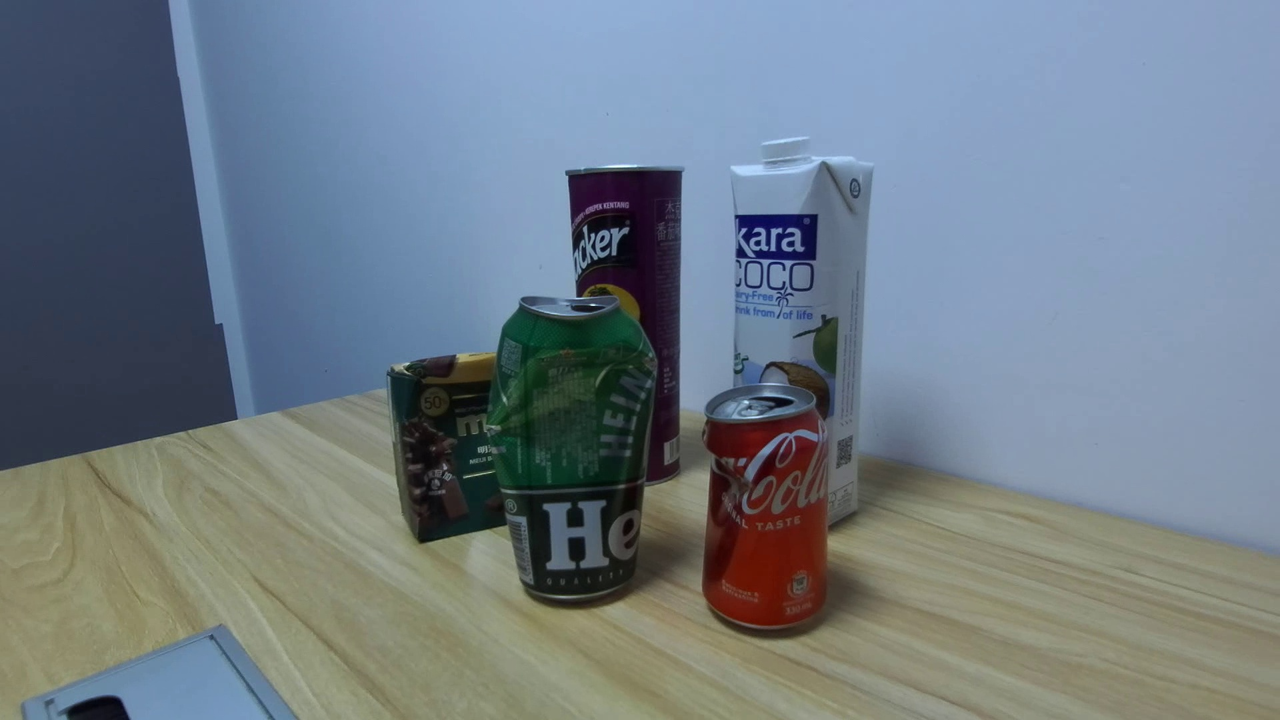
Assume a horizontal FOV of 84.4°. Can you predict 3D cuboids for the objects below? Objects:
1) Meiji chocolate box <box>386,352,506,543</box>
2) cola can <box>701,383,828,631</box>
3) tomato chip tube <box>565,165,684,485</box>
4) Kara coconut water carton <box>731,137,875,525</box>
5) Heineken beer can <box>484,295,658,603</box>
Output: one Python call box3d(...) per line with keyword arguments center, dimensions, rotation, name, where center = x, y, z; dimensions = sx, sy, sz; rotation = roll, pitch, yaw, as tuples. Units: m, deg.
box3d(center=(-0.118, 0.059, 0.504), dimensions=(0.114, 0.110, 0.058), rotation=(-7, 8, -30), name="Meiji chocolate box")
box3d(center=(0.065, 0.075, 0.363), dimensions=(0.065, 0.117, 0.072), rotation=(-1, 13, -1), name="cola can")
box3d(center=(-0.008, -0.025, 0.539), dimensions=(0.077, 0.234, 0.080), rotation=(-7, 12, -26), name="tomato chip tube")
box3d(center=(0.102, -0.015, 0.459), dimensions=(0.076, 0.245, 0.076), rotation=(-13, 17, -43), name="Kara coconut water carton")
box3d(center=(-0.039, 0.049, 0.389), dimensions=(0.077, 0.164, 0.066), rotation=(10, 17, 32), name="Heineken beer can")
